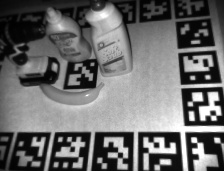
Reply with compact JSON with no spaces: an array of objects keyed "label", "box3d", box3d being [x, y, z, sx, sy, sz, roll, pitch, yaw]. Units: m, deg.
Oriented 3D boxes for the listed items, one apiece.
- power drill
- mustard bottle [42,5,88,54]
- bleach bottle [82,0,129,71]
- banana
[{"label":"power drill","box3d":[-0.246,-0.107,0.588,0.184,0.188,0.057,-6,59,7]},{"label":"mustard bottle","box3d":[-0.141,-0.161,0.610,0.096,0.193,0.058,-3,66,11]},{"label":"bleach bottle","box3d":[-0.021,-0.124,0.545,0.102,0.253,0.067,-12,66,8]},{"label":"banana","box3d":[-0.125,-0.001,0.620,0.196,0.039,0.074,-1,71,13]}]
